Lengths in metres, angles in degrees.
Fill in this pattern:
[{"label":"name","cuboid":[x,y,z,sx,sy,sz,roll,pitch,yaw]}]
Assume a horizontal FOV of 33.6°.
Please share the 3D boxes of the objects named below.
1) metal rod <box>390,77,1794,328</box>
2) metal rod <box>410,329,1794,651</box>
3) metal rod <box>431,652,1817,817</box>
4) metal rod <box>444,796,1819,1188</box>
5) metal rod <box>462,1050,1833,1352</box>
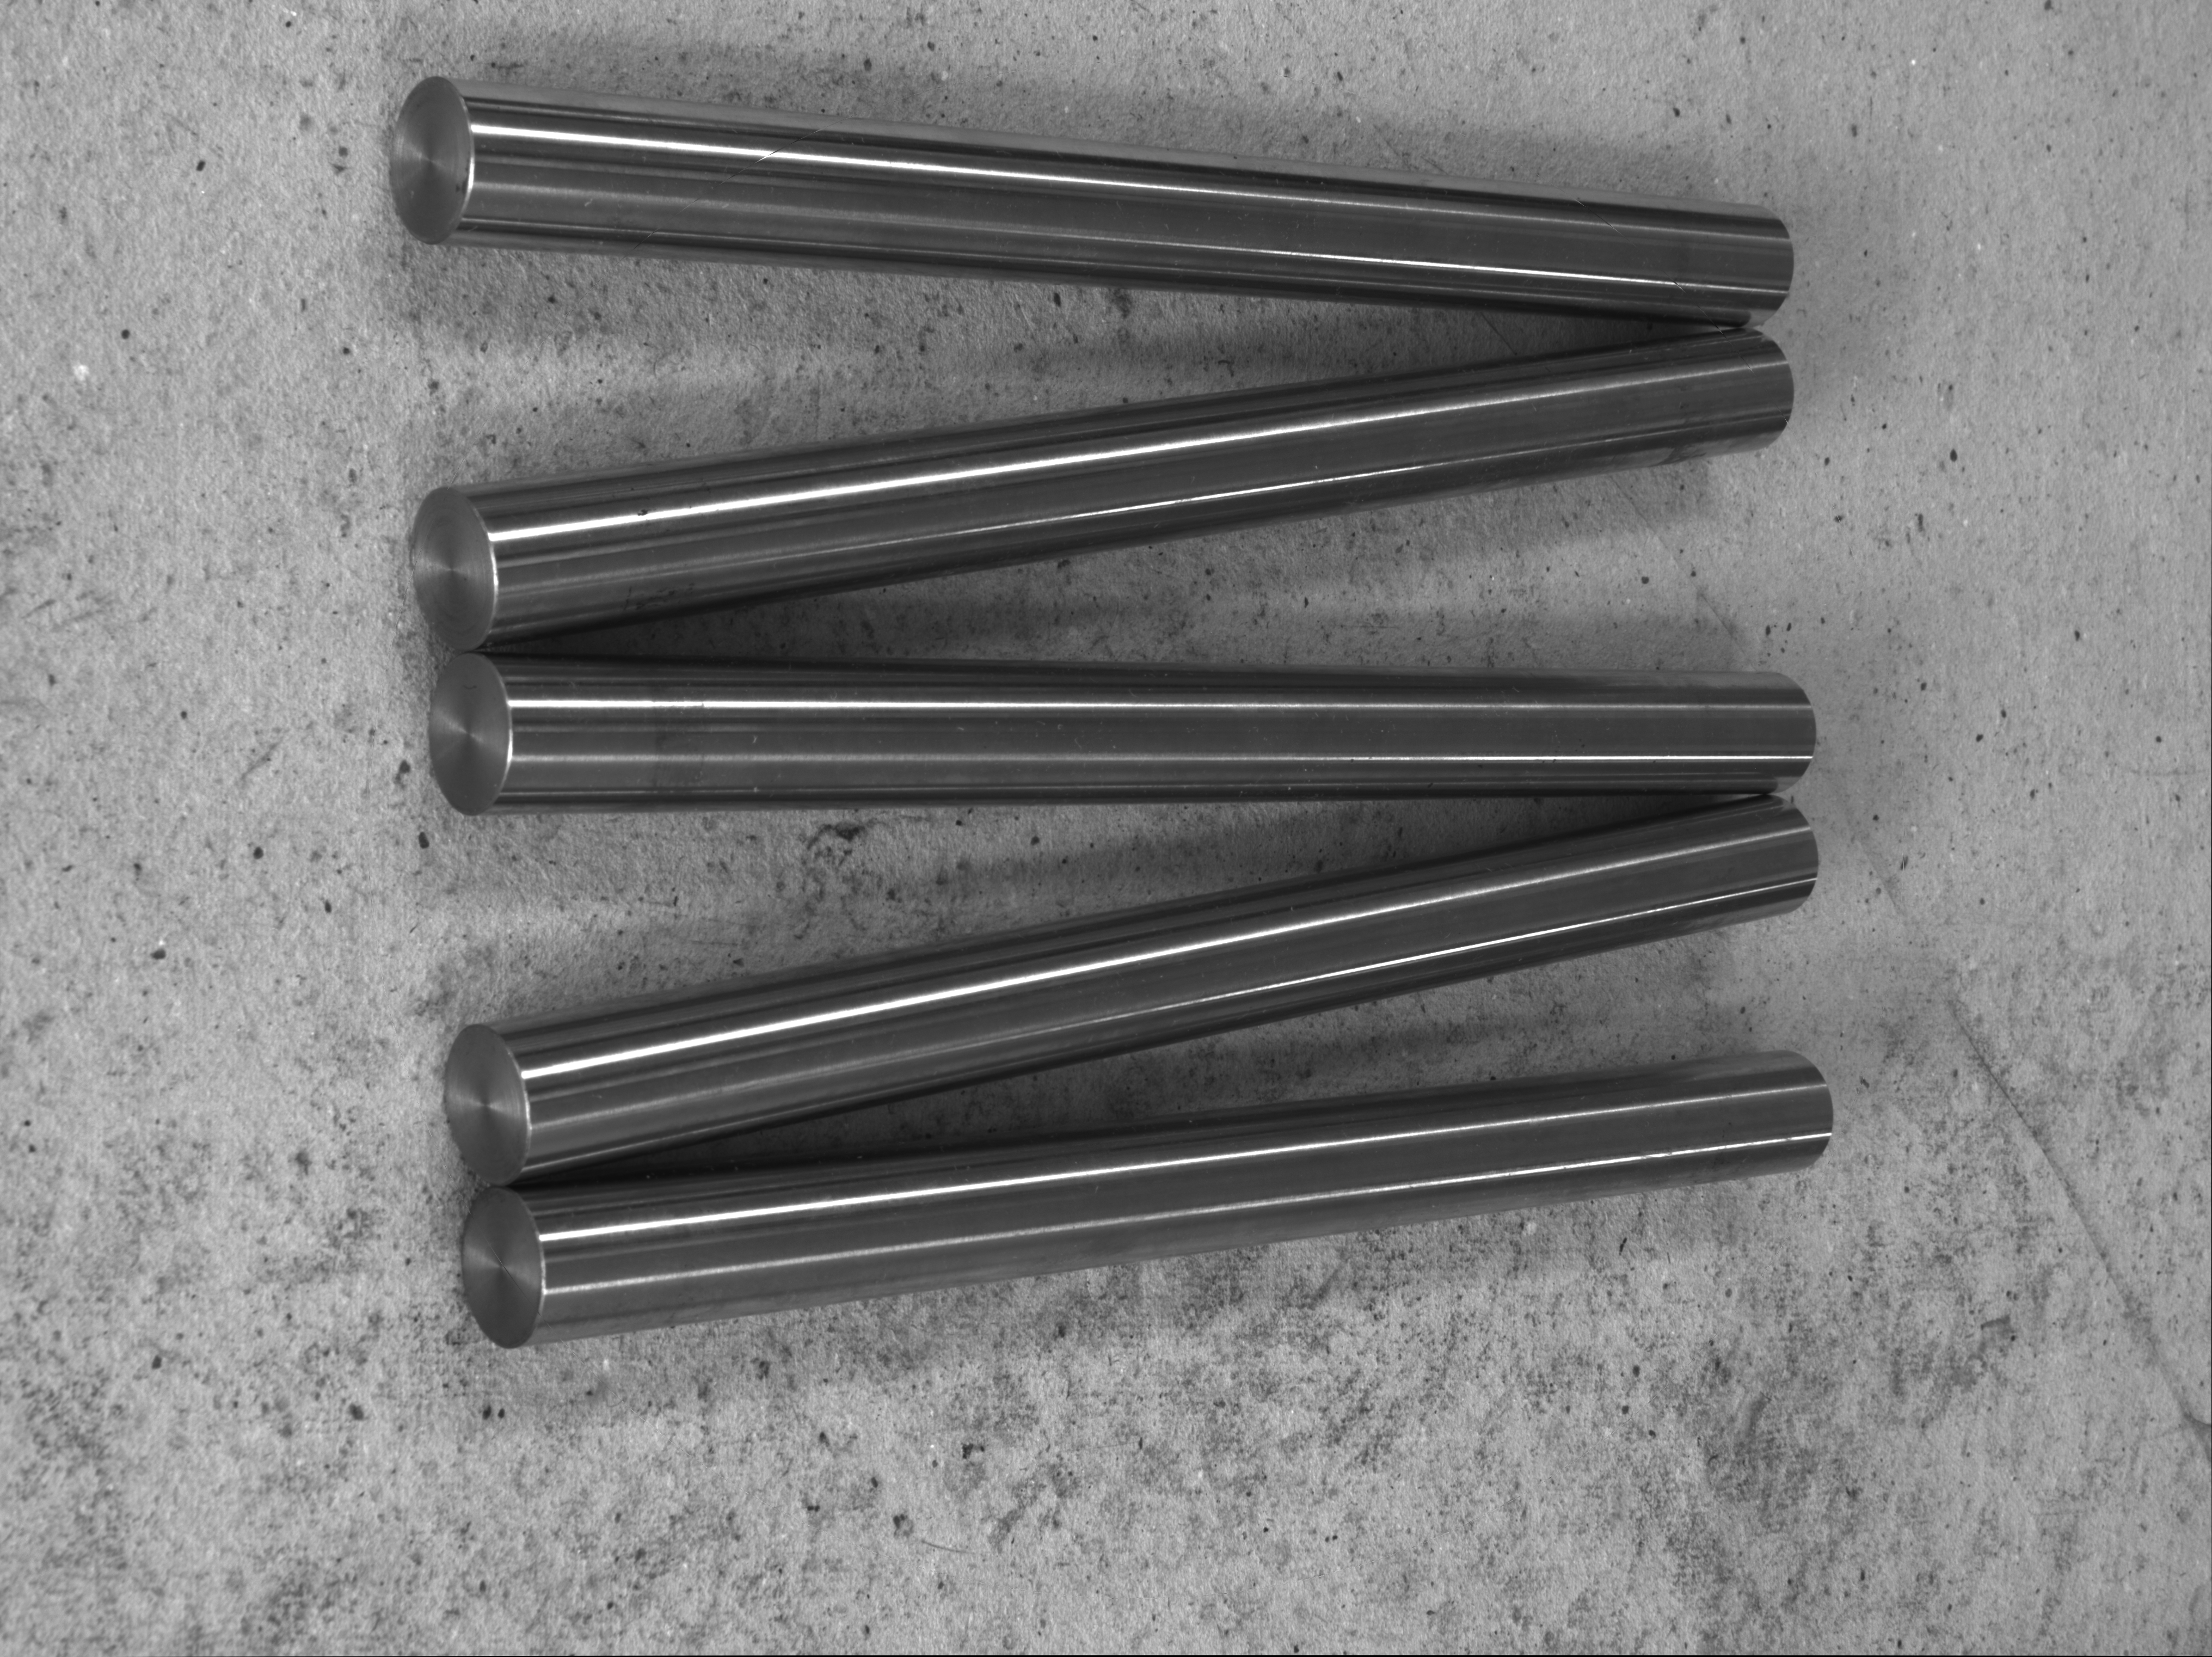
[{"label":"metal rod","cuboid":[0.014,-0.107,0.648,0.301,0.025,0.025,-3,92,-40]},{"label":"metal rod","cuboid":[0.016,-0.064,0.649,0.301,0.025,0.025,-12,98,-39]},{"label":"metal rod","cuboid":[0.020,-0.017,0.652,0.301,0.025,0.025,-1,91,-40]},{"label":"metal rod","cuboid":[0.021,0.024,0.653,0.301,0.025,0.025,-9,96,-39]},{"label":"metal rod","cuboid":[0.024,0.063,0.656,0.301,0.025,0.025,-2,91,-40]}]
